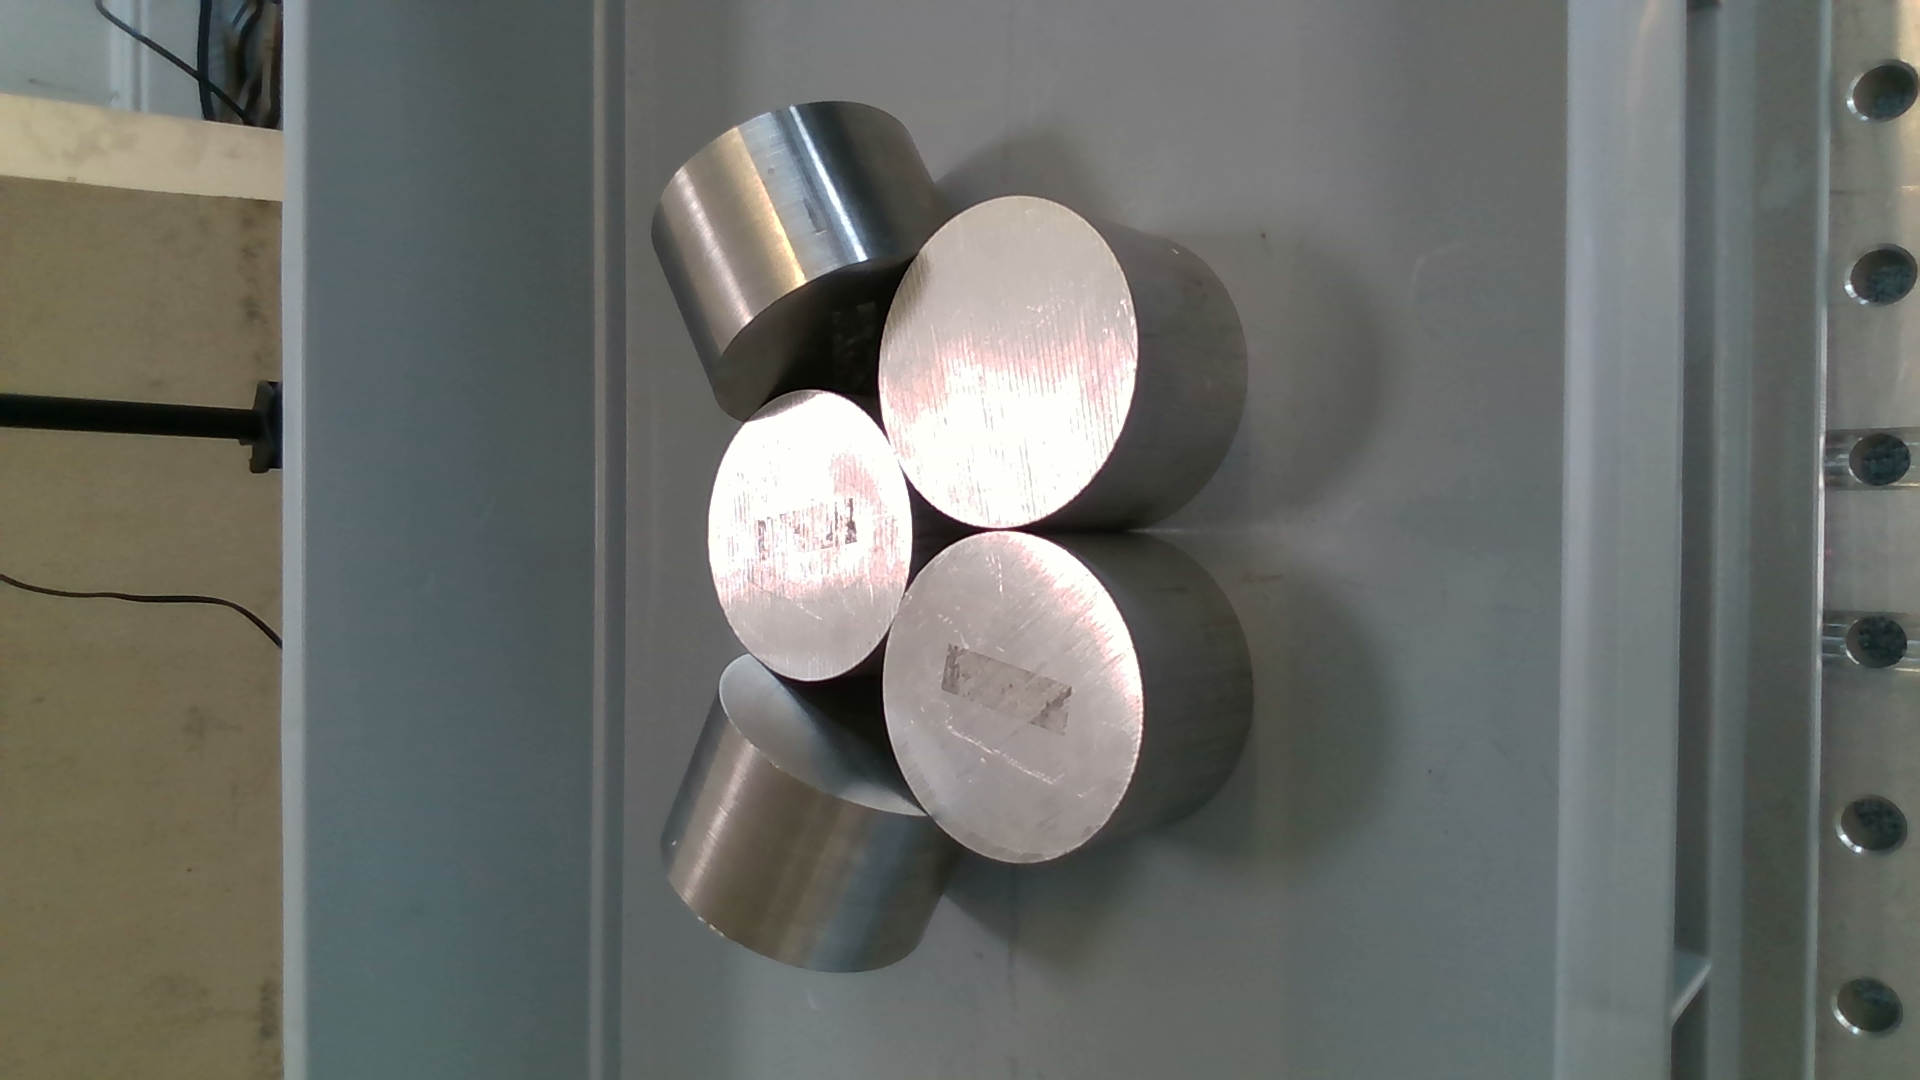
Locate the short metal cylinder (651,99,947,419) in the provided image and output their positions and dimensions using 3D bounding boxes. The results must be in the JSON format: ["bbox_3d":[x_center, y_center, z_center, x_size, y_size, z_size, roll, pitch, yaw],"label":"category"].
[{"bbox_3d":[-0.040,-0.076,0.386,0.080,0.080,0.050,-38,67,34],"label":"short metal cylinder"}]

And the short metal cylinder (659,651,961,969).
[{"bbox_3d":[-0.038,0.073,0.386,0.080,0.080,0.050,36,113,34],"label":"short metal cylinder"}]

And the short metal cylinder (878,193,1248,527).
[{"bbox_3d":[0.025,-0.043,0.351,0.080,0.050,0.080,0,91,40],"label":"short metal cylinder"}]

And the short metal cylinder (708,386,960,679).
[{"bbox_3d":[-0.027,-0.002,0.396,0.080,0.050,0.080,0,91,40],"label":"short metal cylinder"}]

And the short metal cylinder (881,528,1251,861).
[{"bbox_3d":[0.026,0.037,0.351,0.080,0.050,0.080,0,91,40],"label":"short metal cylinder"}]
